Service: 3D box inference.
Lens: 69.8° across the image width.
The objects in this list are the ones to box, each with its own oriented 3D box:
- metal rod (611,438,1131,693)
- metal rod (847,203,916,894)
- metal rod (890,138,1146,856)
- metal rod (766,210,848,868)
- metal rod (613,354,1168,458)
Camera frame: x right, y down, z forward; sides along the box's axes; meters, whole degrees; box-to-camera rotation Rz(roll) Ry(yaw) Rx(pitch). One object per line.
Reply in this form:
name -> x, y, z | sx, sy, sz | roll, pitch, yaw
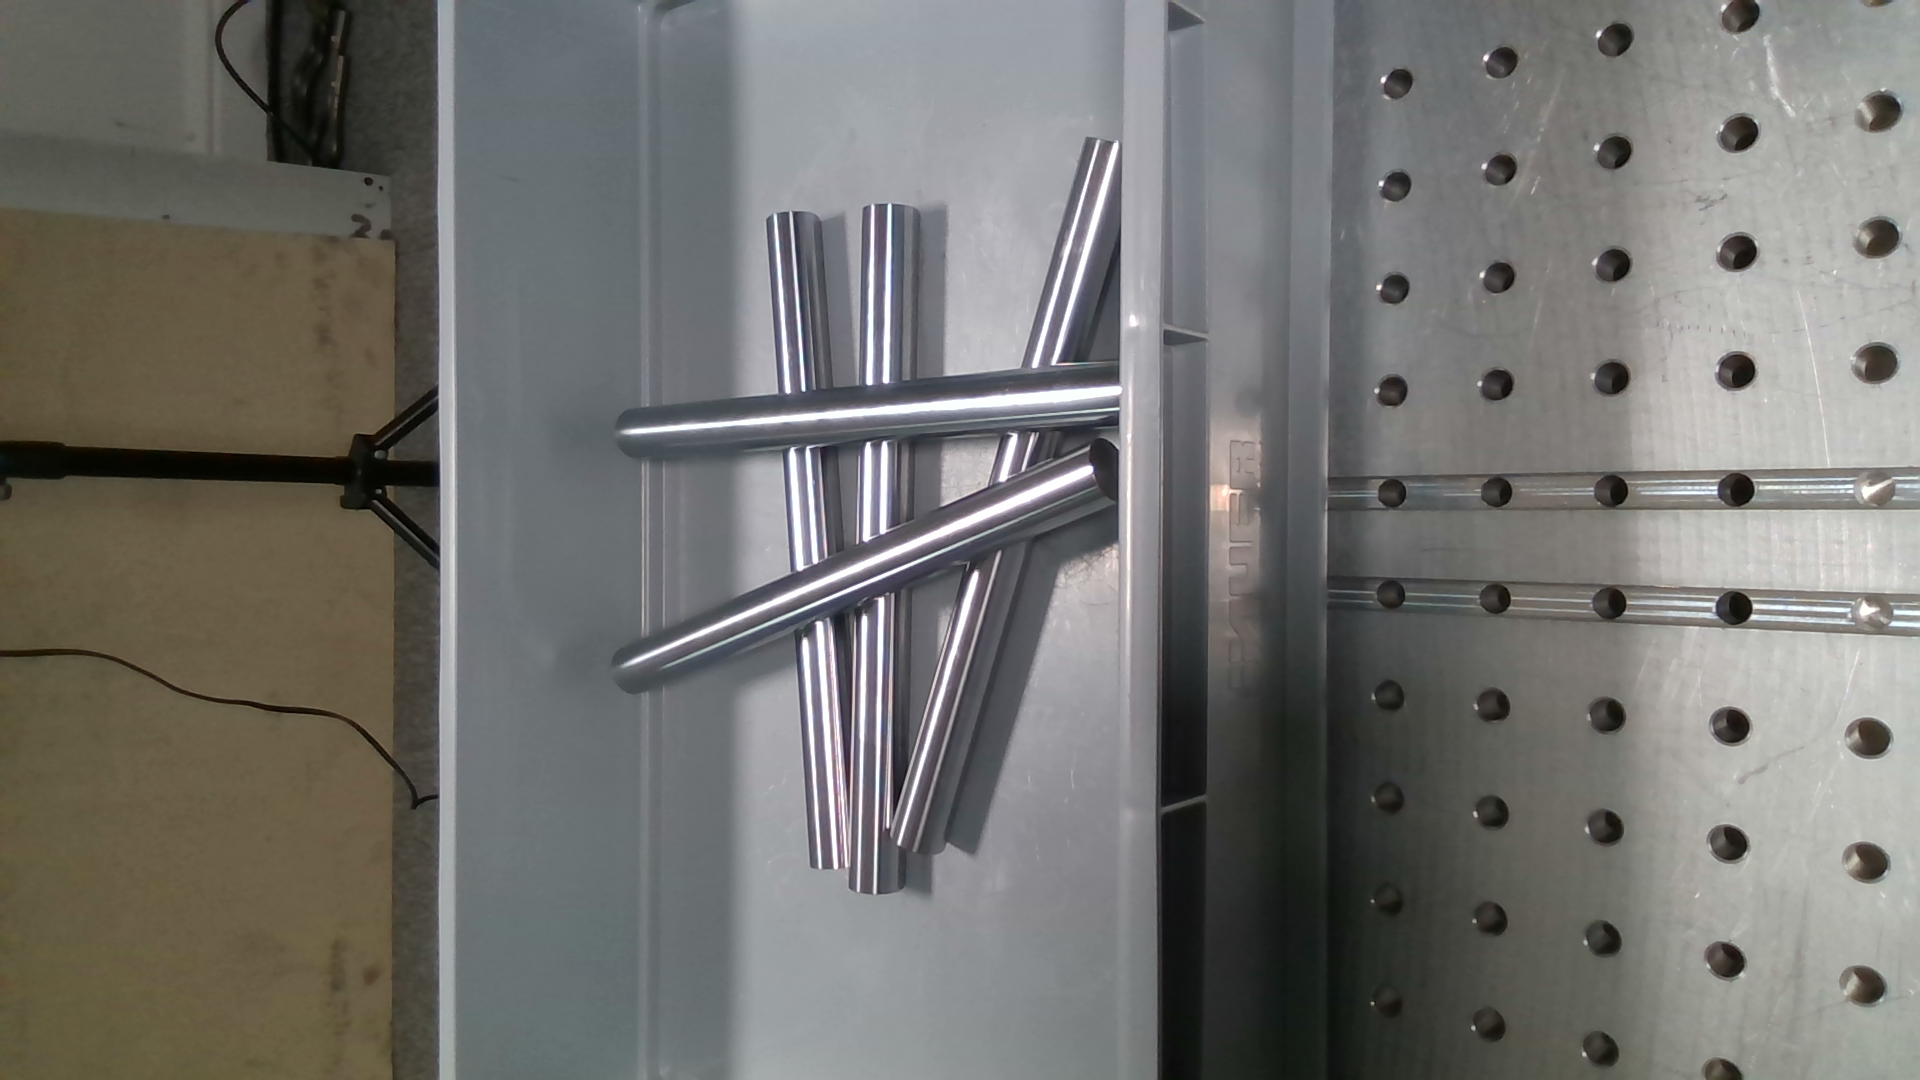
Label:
metal rod -> -0.054, 0.020, 0.594 | 0.300, 0.025, 0.025 | -23, 76, 38
metal rod -> -0.034, 0.004, 0.609 | 0.025, 0.025, 0.300 | 3, 92, 40
metal rod -> 0.020, -0.010, 0.563 | 0.025, 0.025, 0.300 | 26, 107, 37
metal rod -> -0.068, -0.001, 0.638 | 0.025, 0.025, 0.300 | -7, 86, 40
metal rod -> -0.047, -0.053, 0.586 | 0.300, 0.025, 0.025 | 0, 90, 40
